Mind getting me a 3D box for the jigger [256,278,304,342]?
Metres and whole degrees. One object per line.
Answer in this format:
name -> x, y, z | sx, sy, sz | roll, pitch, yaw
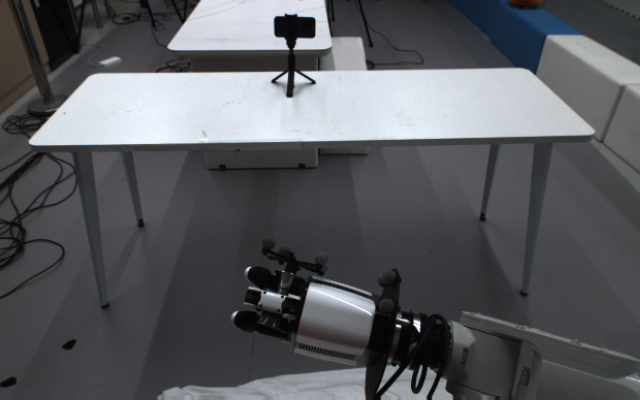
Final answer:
jigger -> -0.045, 0.125, 0.601 | 0.043, 0.043, 0.071 | 12, 71, 14
